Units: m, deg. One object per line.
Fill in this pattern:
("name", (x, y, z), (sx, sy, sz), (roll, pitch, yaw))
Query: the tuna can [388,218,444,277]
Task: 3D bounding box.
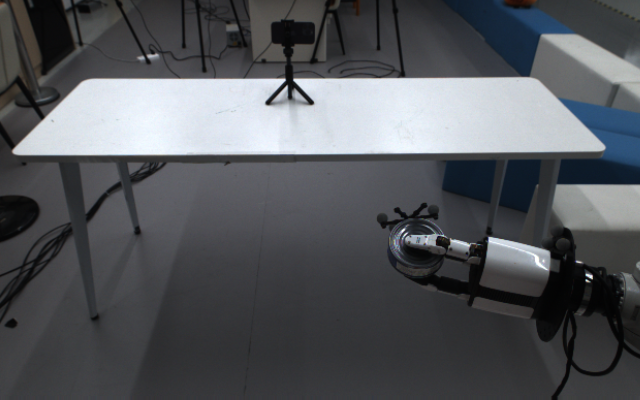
("tuna can", (0.147, 0.068, 0.717), (0.085, 0.034, 0.085), (-3, 59, 5))
